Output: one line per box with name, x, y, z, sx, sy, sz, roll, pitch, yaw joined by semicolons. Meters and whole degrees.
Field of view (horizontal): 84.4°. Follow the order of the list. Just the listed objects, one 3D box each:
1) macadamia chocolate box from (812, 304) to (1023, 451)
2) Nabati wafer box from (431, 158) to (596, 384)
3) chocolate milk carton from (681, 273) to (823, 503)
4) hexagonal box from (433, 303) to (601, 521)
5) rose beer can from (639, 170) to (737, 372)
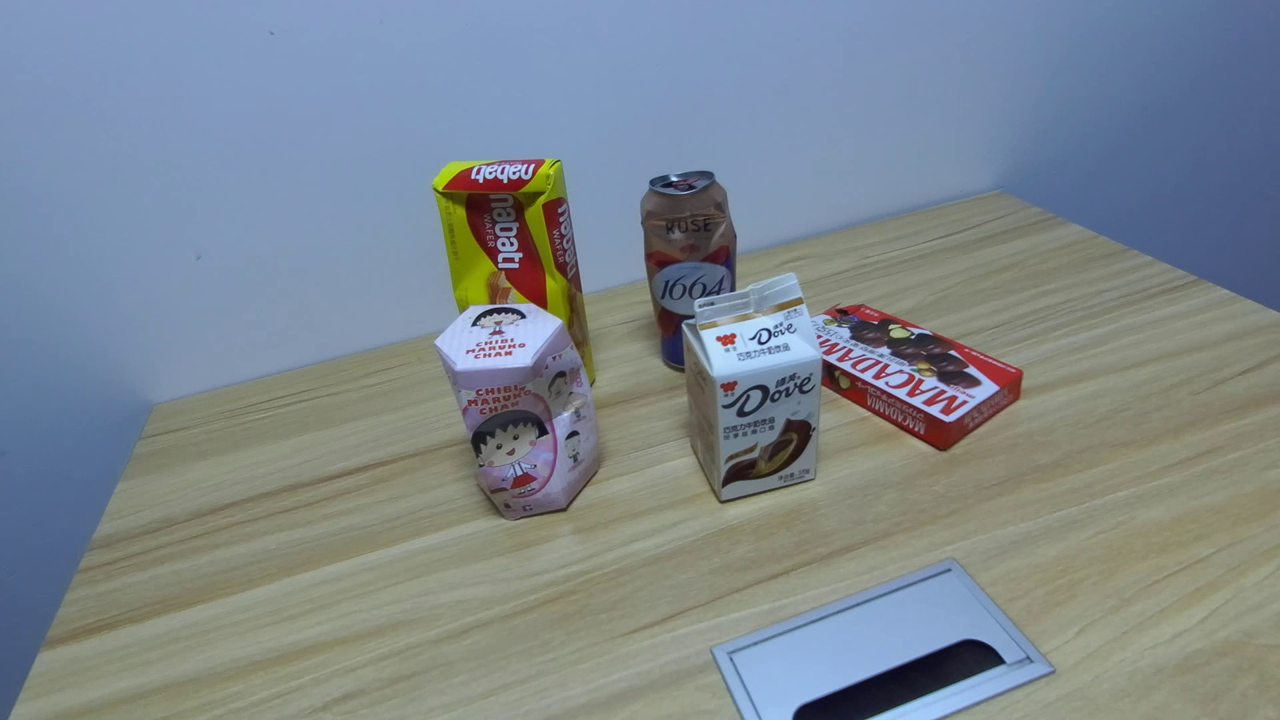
macadamia chocolate box;0.204;0.001;0.586;0.103;0.027;0.186;-24;38;-27
Nabati wafer box;-0.098;-0.056;0.572;0.096;0.204;0.042;3;33;14
chocolate milk carton;0.074;0.013;0.478;0.075;0.148;0.074;-12;34;-9
hexagonal box;-0.088;0.037;0.496;0.089;0.135;0.093;-30;40;-30
rose beer can;0.044;-0.072;0.596;0.075;0.167;0.065;1;30;20
